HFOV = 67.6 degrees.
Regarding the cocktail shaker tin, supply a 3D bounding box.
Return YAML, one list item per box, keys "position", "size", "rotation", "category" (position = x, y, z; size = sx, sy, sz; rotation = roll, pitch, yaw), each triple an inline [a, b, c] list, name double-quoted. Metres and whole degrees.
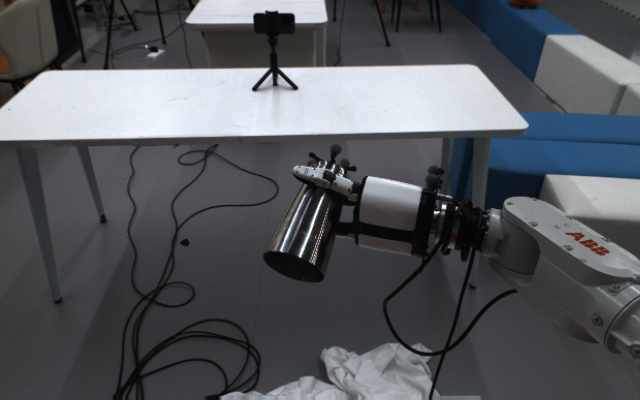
- position: [-0.012, 0.023, 0.723]
  size: [0.093, 0.093, 0.170]
  rotation: [13, 59, 16]
  category: "cocktail shaker tin"
